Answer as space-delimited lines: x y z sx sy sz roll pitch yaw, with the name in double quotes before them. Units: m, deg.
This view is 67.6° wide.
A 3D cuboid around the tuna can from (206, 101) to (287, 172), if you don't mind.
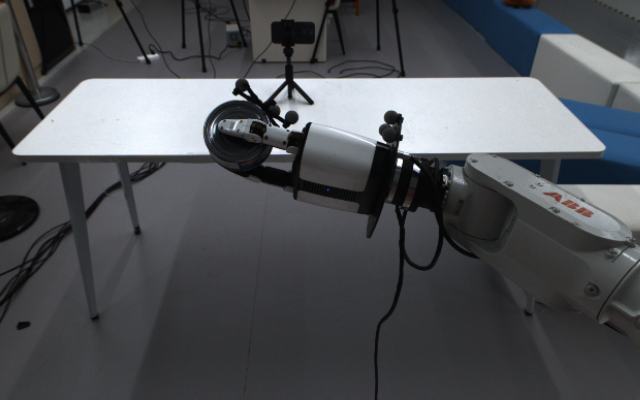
"tuna can" -0.098 -0.076 0.606 0.085 0.034 0.085 0 73 -1
